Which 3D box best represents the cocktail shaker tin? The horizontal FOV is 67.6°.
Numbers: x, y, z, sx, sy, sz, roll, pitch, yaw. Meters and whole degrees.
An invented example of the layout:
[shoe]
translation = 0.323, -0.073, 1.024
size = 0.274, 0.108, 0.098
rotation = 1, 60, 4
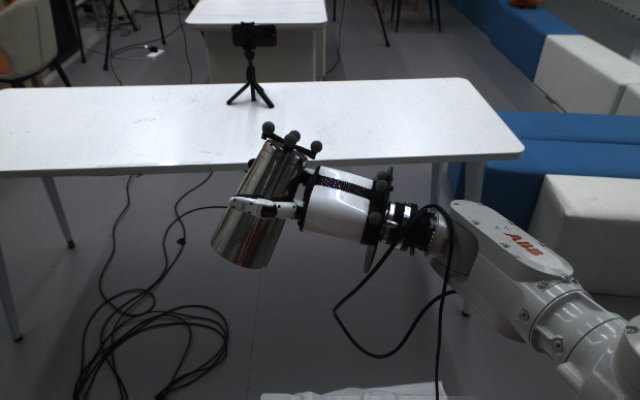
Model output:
[cocktail shaker tin]
translation = -0.081, 0.001, 0.697
size = 0.093, 0.170, 0.093
rotation = 24, 13, -6
